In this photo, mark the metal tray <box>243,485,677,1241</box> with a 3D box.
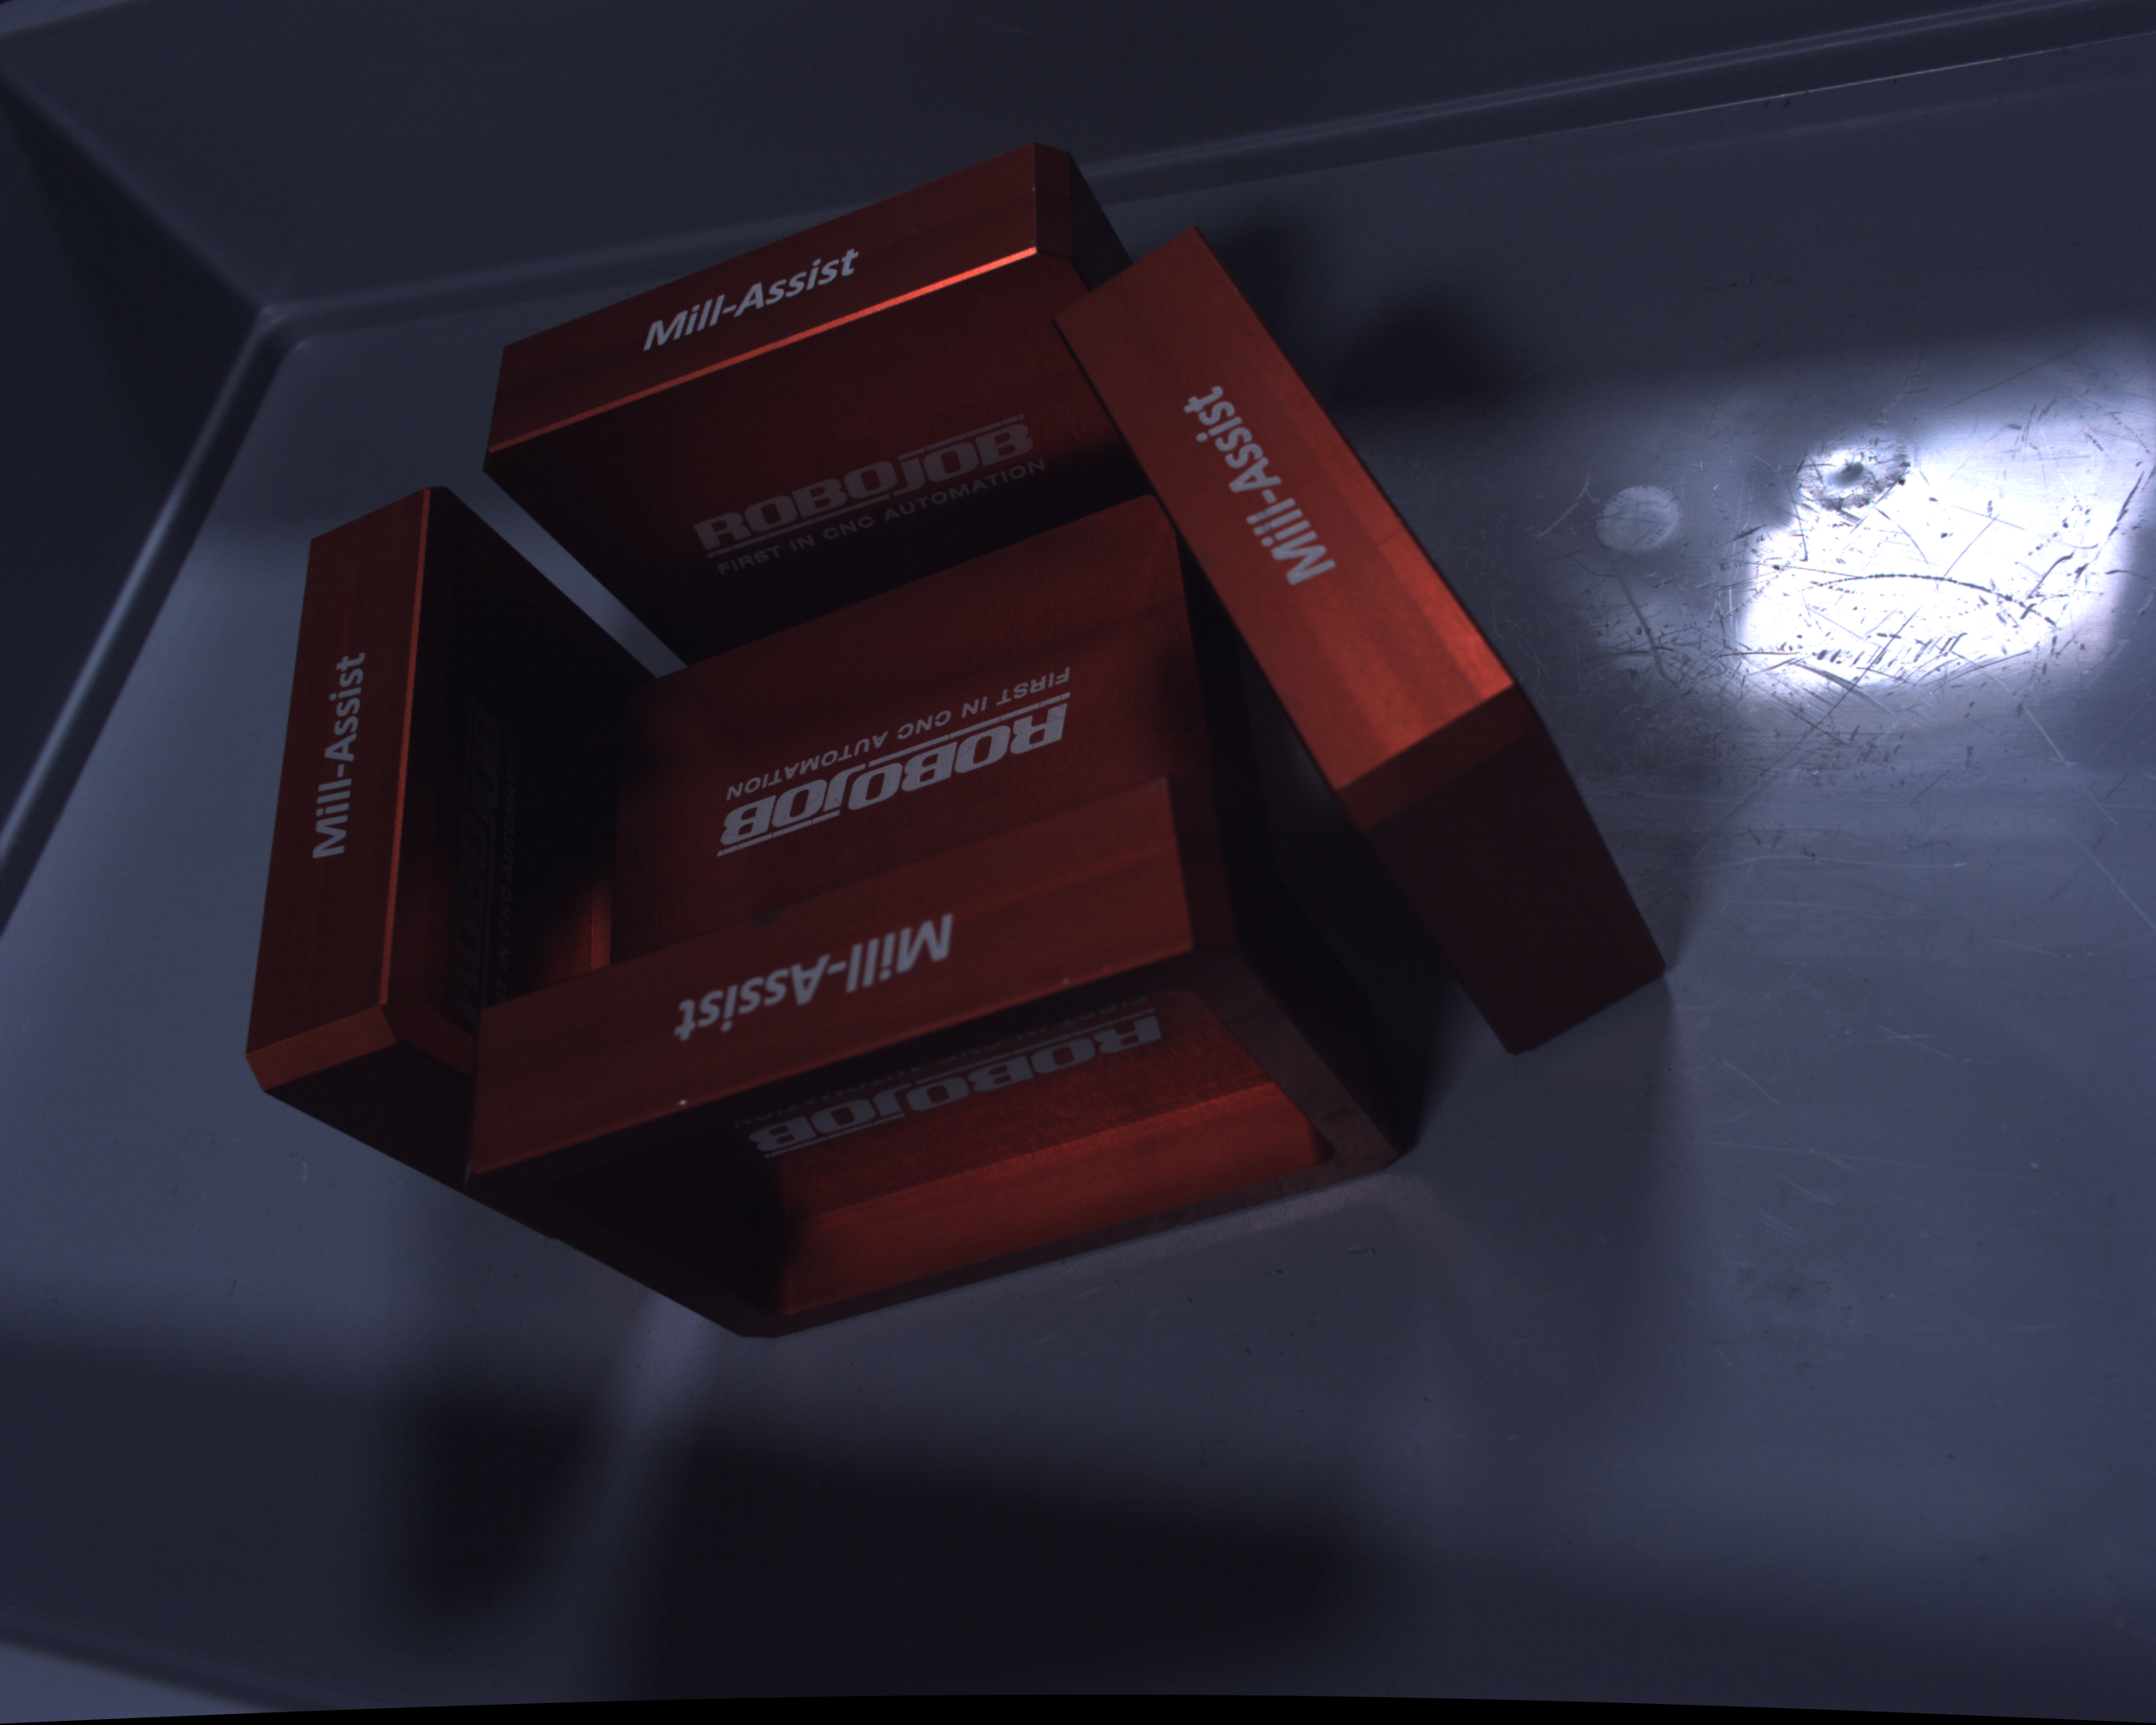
[{"bbox_3d":[-0.118,0.000,0.421,0.030,0.090,0.130,-19,54,17],"label":"metal tray"}]

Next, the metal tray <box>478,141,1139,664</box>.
[{"bbox_3d":[-0.045,-0.088,0.437,0.130,0.090,0.030,-15,56,19],"label":"metal tray"}]

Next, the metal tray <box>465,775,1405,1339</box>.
[{"bbox_3d":[-0.022,0.038,0.348,0.130,0.090,0.030,-19,55,17],"label":"metal tray"}]

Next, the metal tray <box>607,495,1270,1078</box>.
[{"bbox_3d":[-0.031,-0.013,0.422,0.130,0.030,0.090,-18,55,17],"label":"metal tray"}]

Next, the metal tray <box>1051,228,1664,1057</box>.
[{"bbox_3d":[0.047,-0.039,0.360,0.030,0.090,0.130,-32,52,8],"label":"metal tray"}]
